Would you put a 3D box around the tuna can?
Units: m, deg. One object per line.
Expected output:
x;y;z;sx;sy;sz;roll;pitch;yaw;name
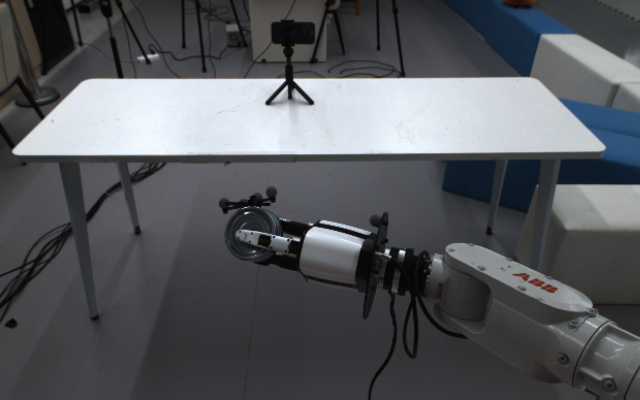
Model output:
-0.099;0.059;0.742;0.085;0.085;0.034;12;-6;15;tuna can
